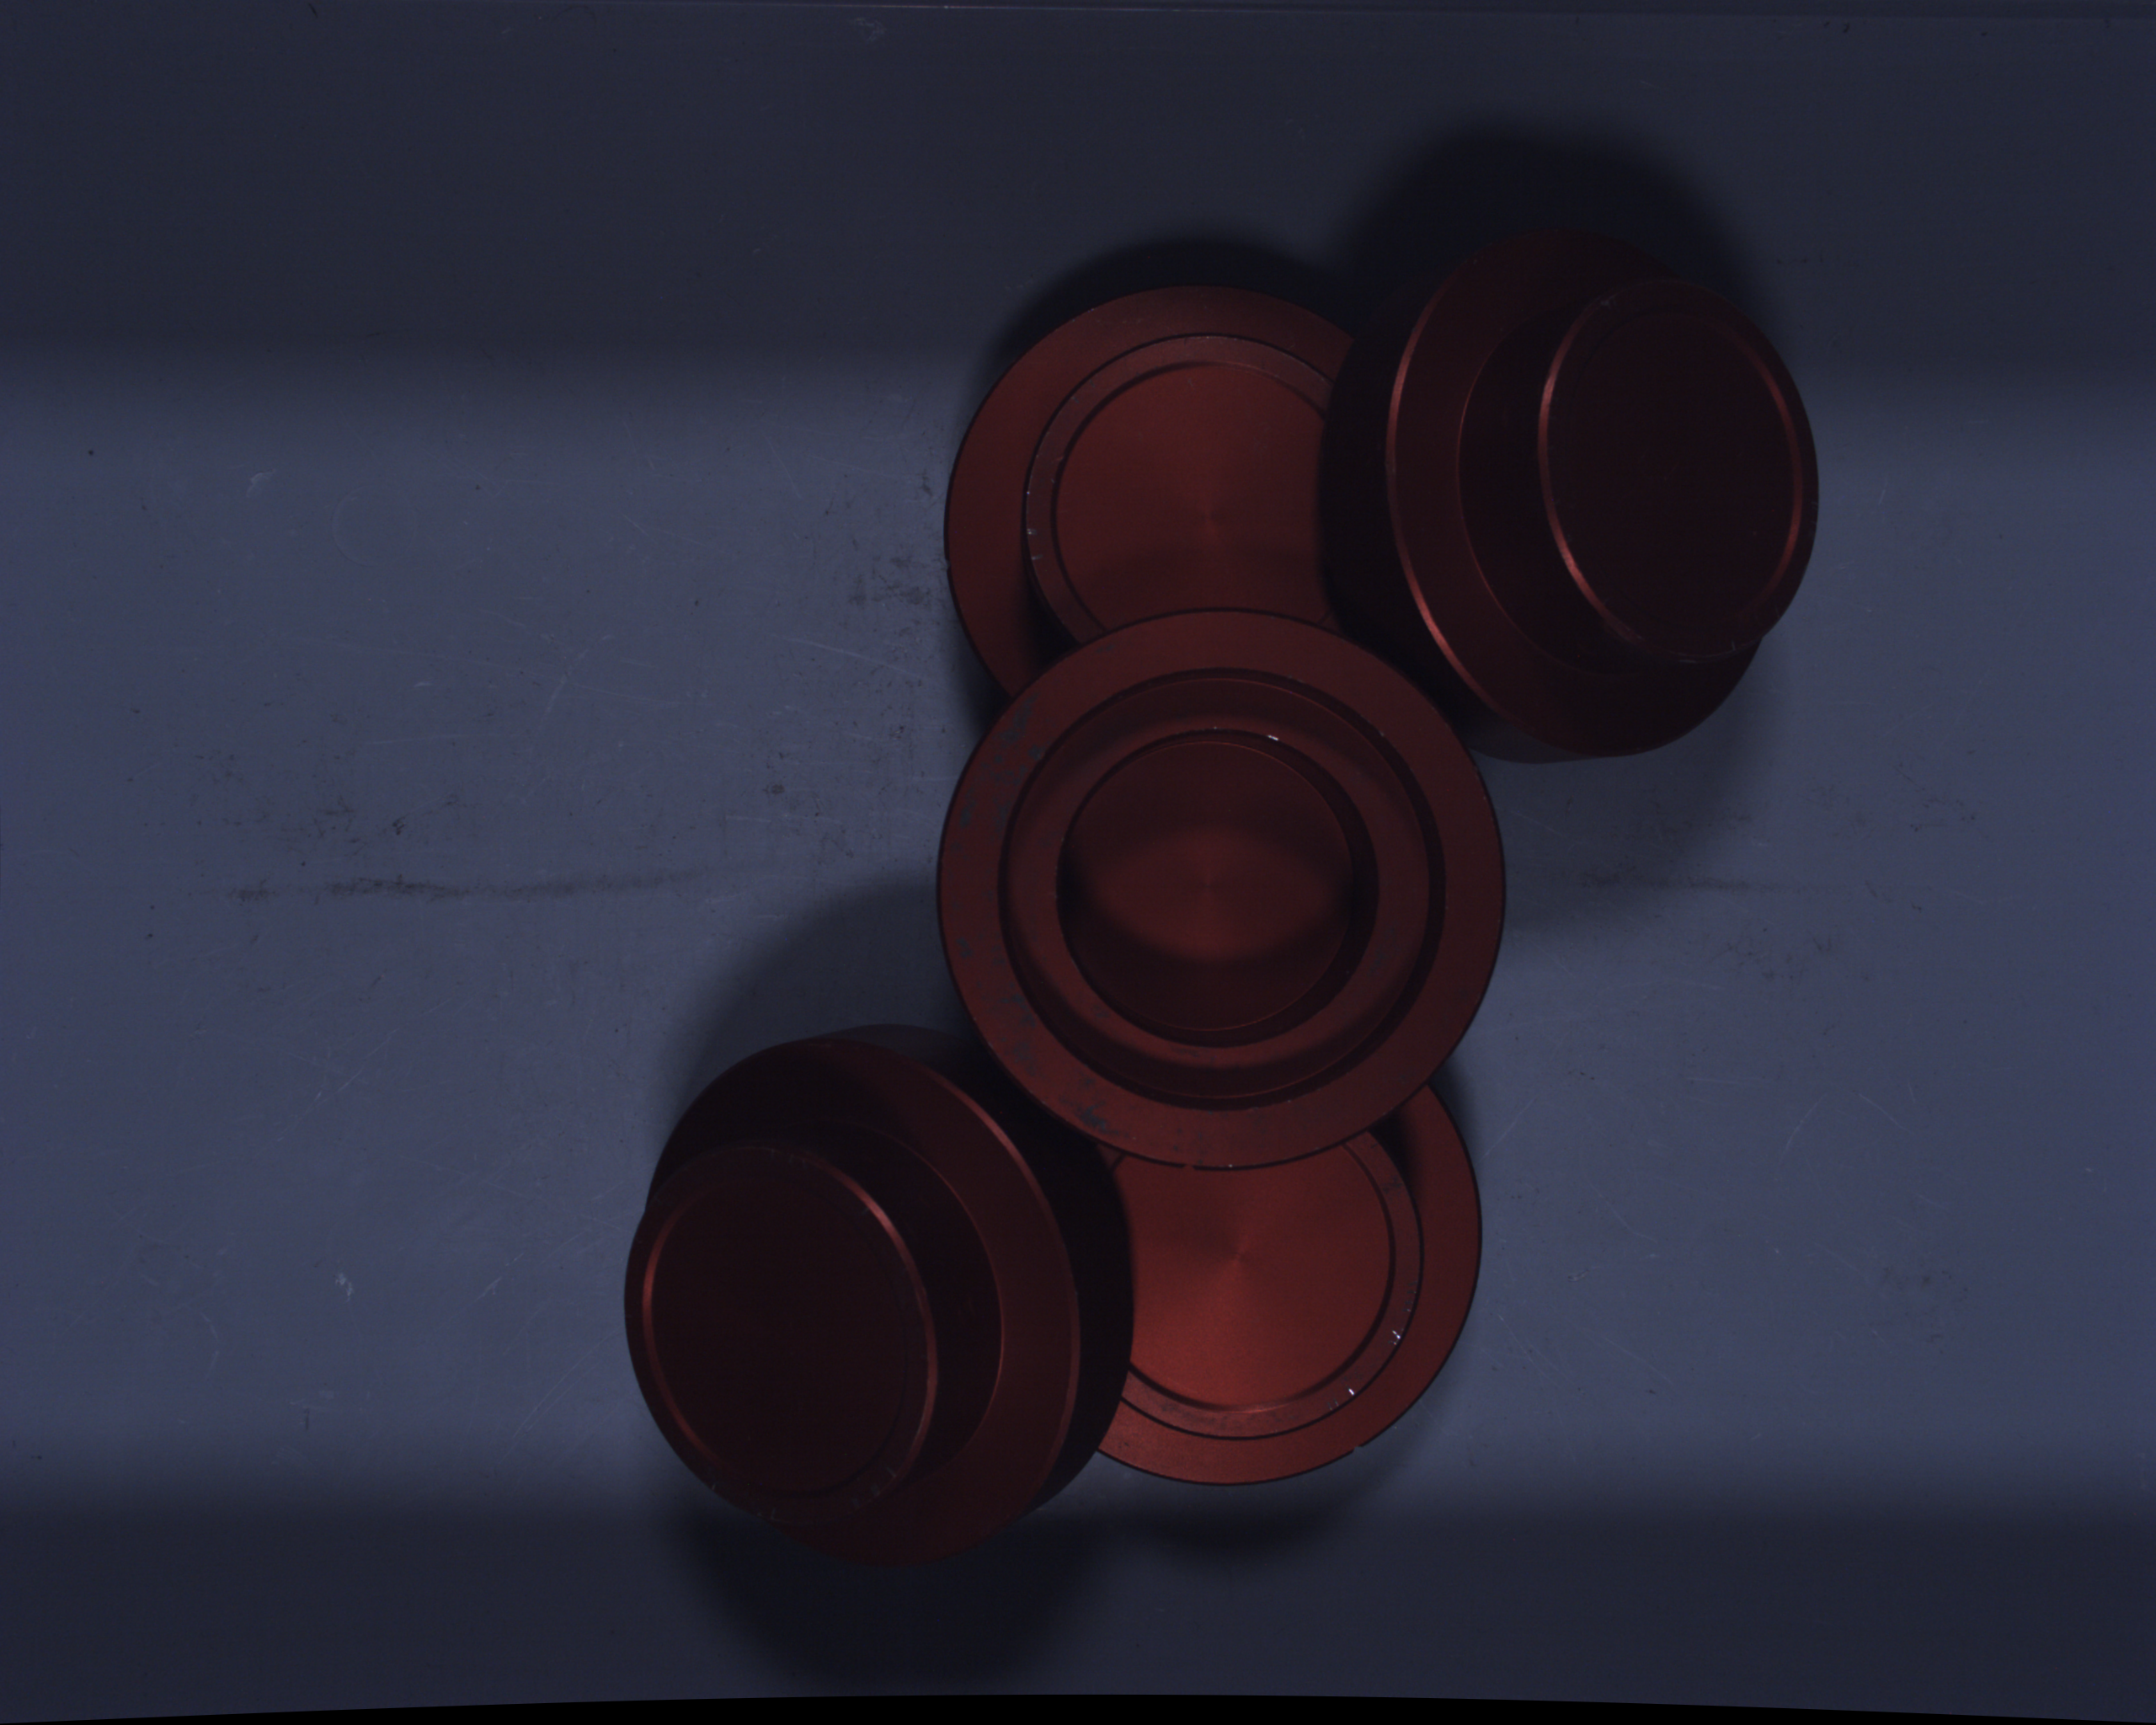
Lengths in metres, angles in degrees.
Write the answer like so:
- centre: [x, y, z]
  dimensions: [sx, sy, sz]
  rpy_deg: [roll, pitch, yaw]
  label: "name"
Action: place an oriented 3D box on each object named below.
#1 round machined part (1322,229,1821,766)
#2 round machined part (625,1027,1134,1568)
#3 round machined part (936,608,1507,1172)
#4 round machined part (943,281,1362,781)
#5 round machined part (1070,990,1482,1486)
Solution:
- centre: [0.096, -0.068, 0.381]
  dimensions: [0.099, 0.042, 0.097]
  rpy_deg: [2, 87, -31]
  label: "round machined part"
- centre: [-0.043, 0.081, 0.380]
  dimensions: [0.098, 0.042, 0.097]
  rpy_deg: [2, 95, 29]
  label: "round machined part"
- centre: [0.025, 0.005, 0.380]
  dimensions: [0.099, 0.042, 0.097]
  rpy_deg: [0, 90, -1]
  label: "round machined part"
- centre: [0.023, -0.063, 0.401]
  dimensions: [0.099, 0.042, 0.097]
  rpy_deg: [0, 90, -1]
  label: "round machined part"
- centre: [0.029, 0.072, 0.402]
  dimensions: [0.099, 0.042, 0.097]
  rpy_deg: [0, 90, -1]
  label: "round machined part"
